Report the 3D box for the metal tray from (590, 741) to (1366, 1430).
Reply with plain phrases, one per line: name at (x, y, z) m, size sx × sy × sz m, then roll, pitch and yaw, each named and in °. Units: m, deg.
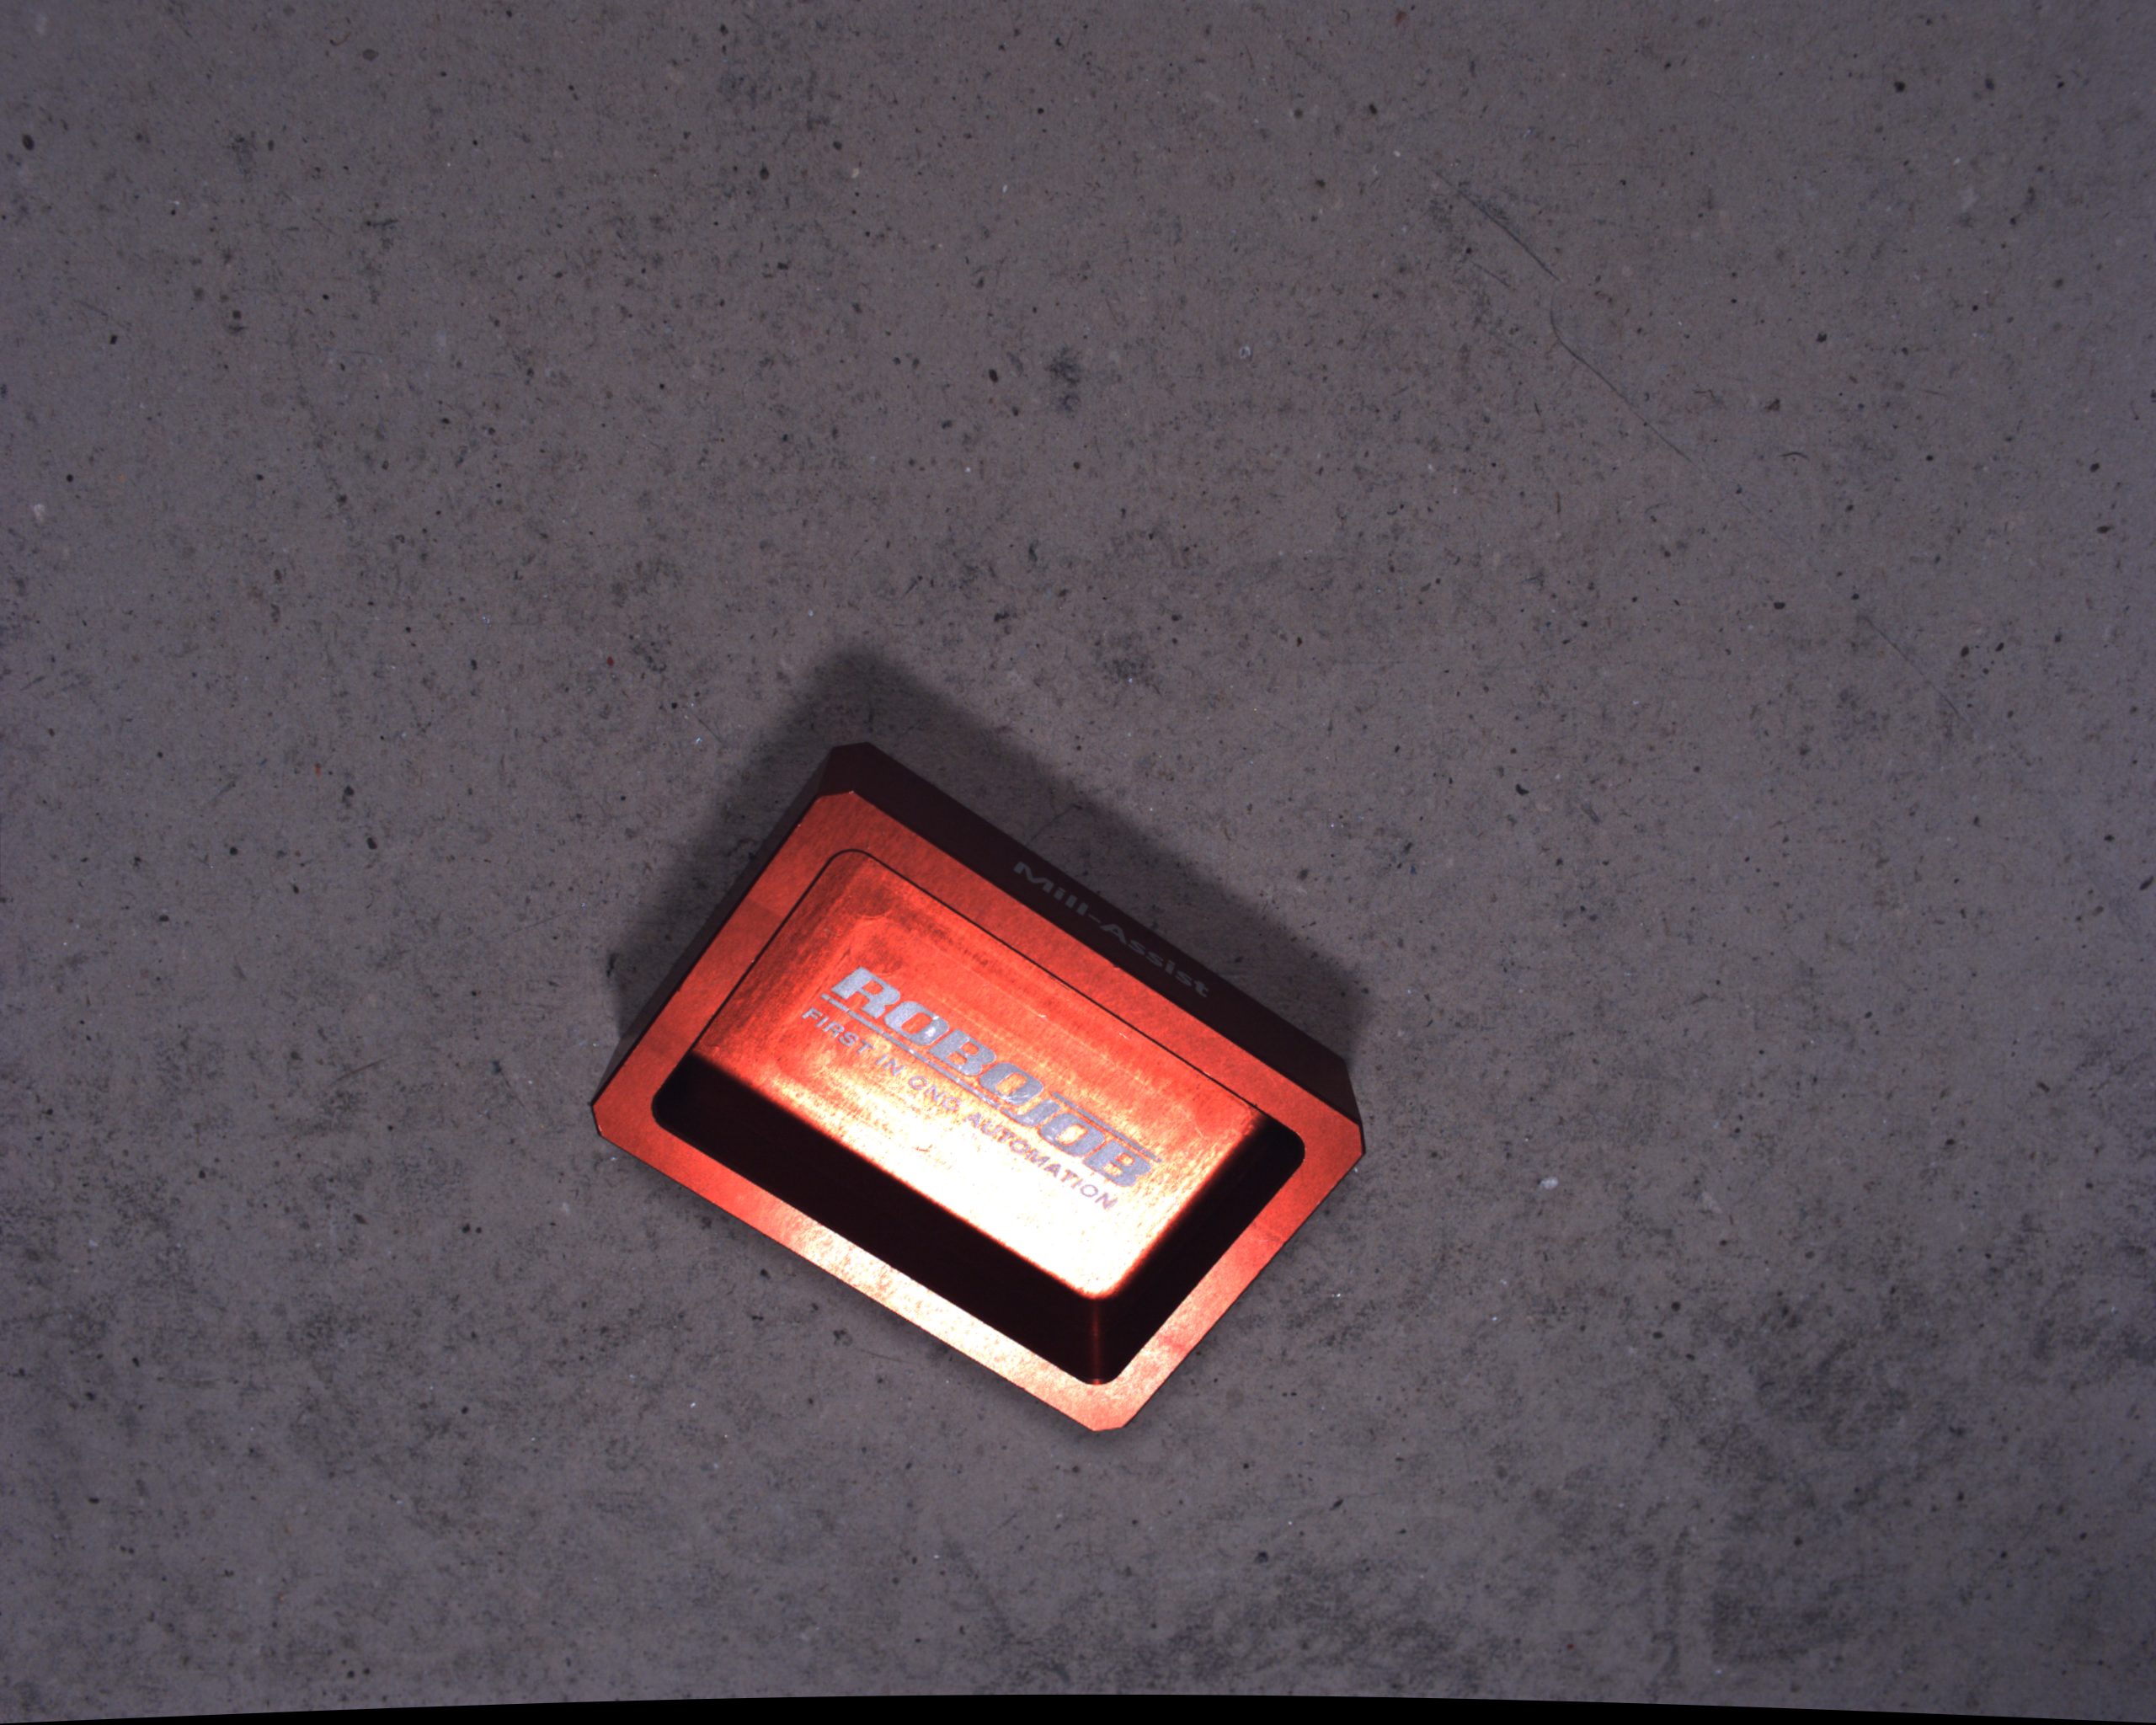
metal tray at (-0.019, 0.047, 0.426) m, size 0.130 × 0.030 × 0.090 m, roll 34°, pitch 106°, yaw -12°
